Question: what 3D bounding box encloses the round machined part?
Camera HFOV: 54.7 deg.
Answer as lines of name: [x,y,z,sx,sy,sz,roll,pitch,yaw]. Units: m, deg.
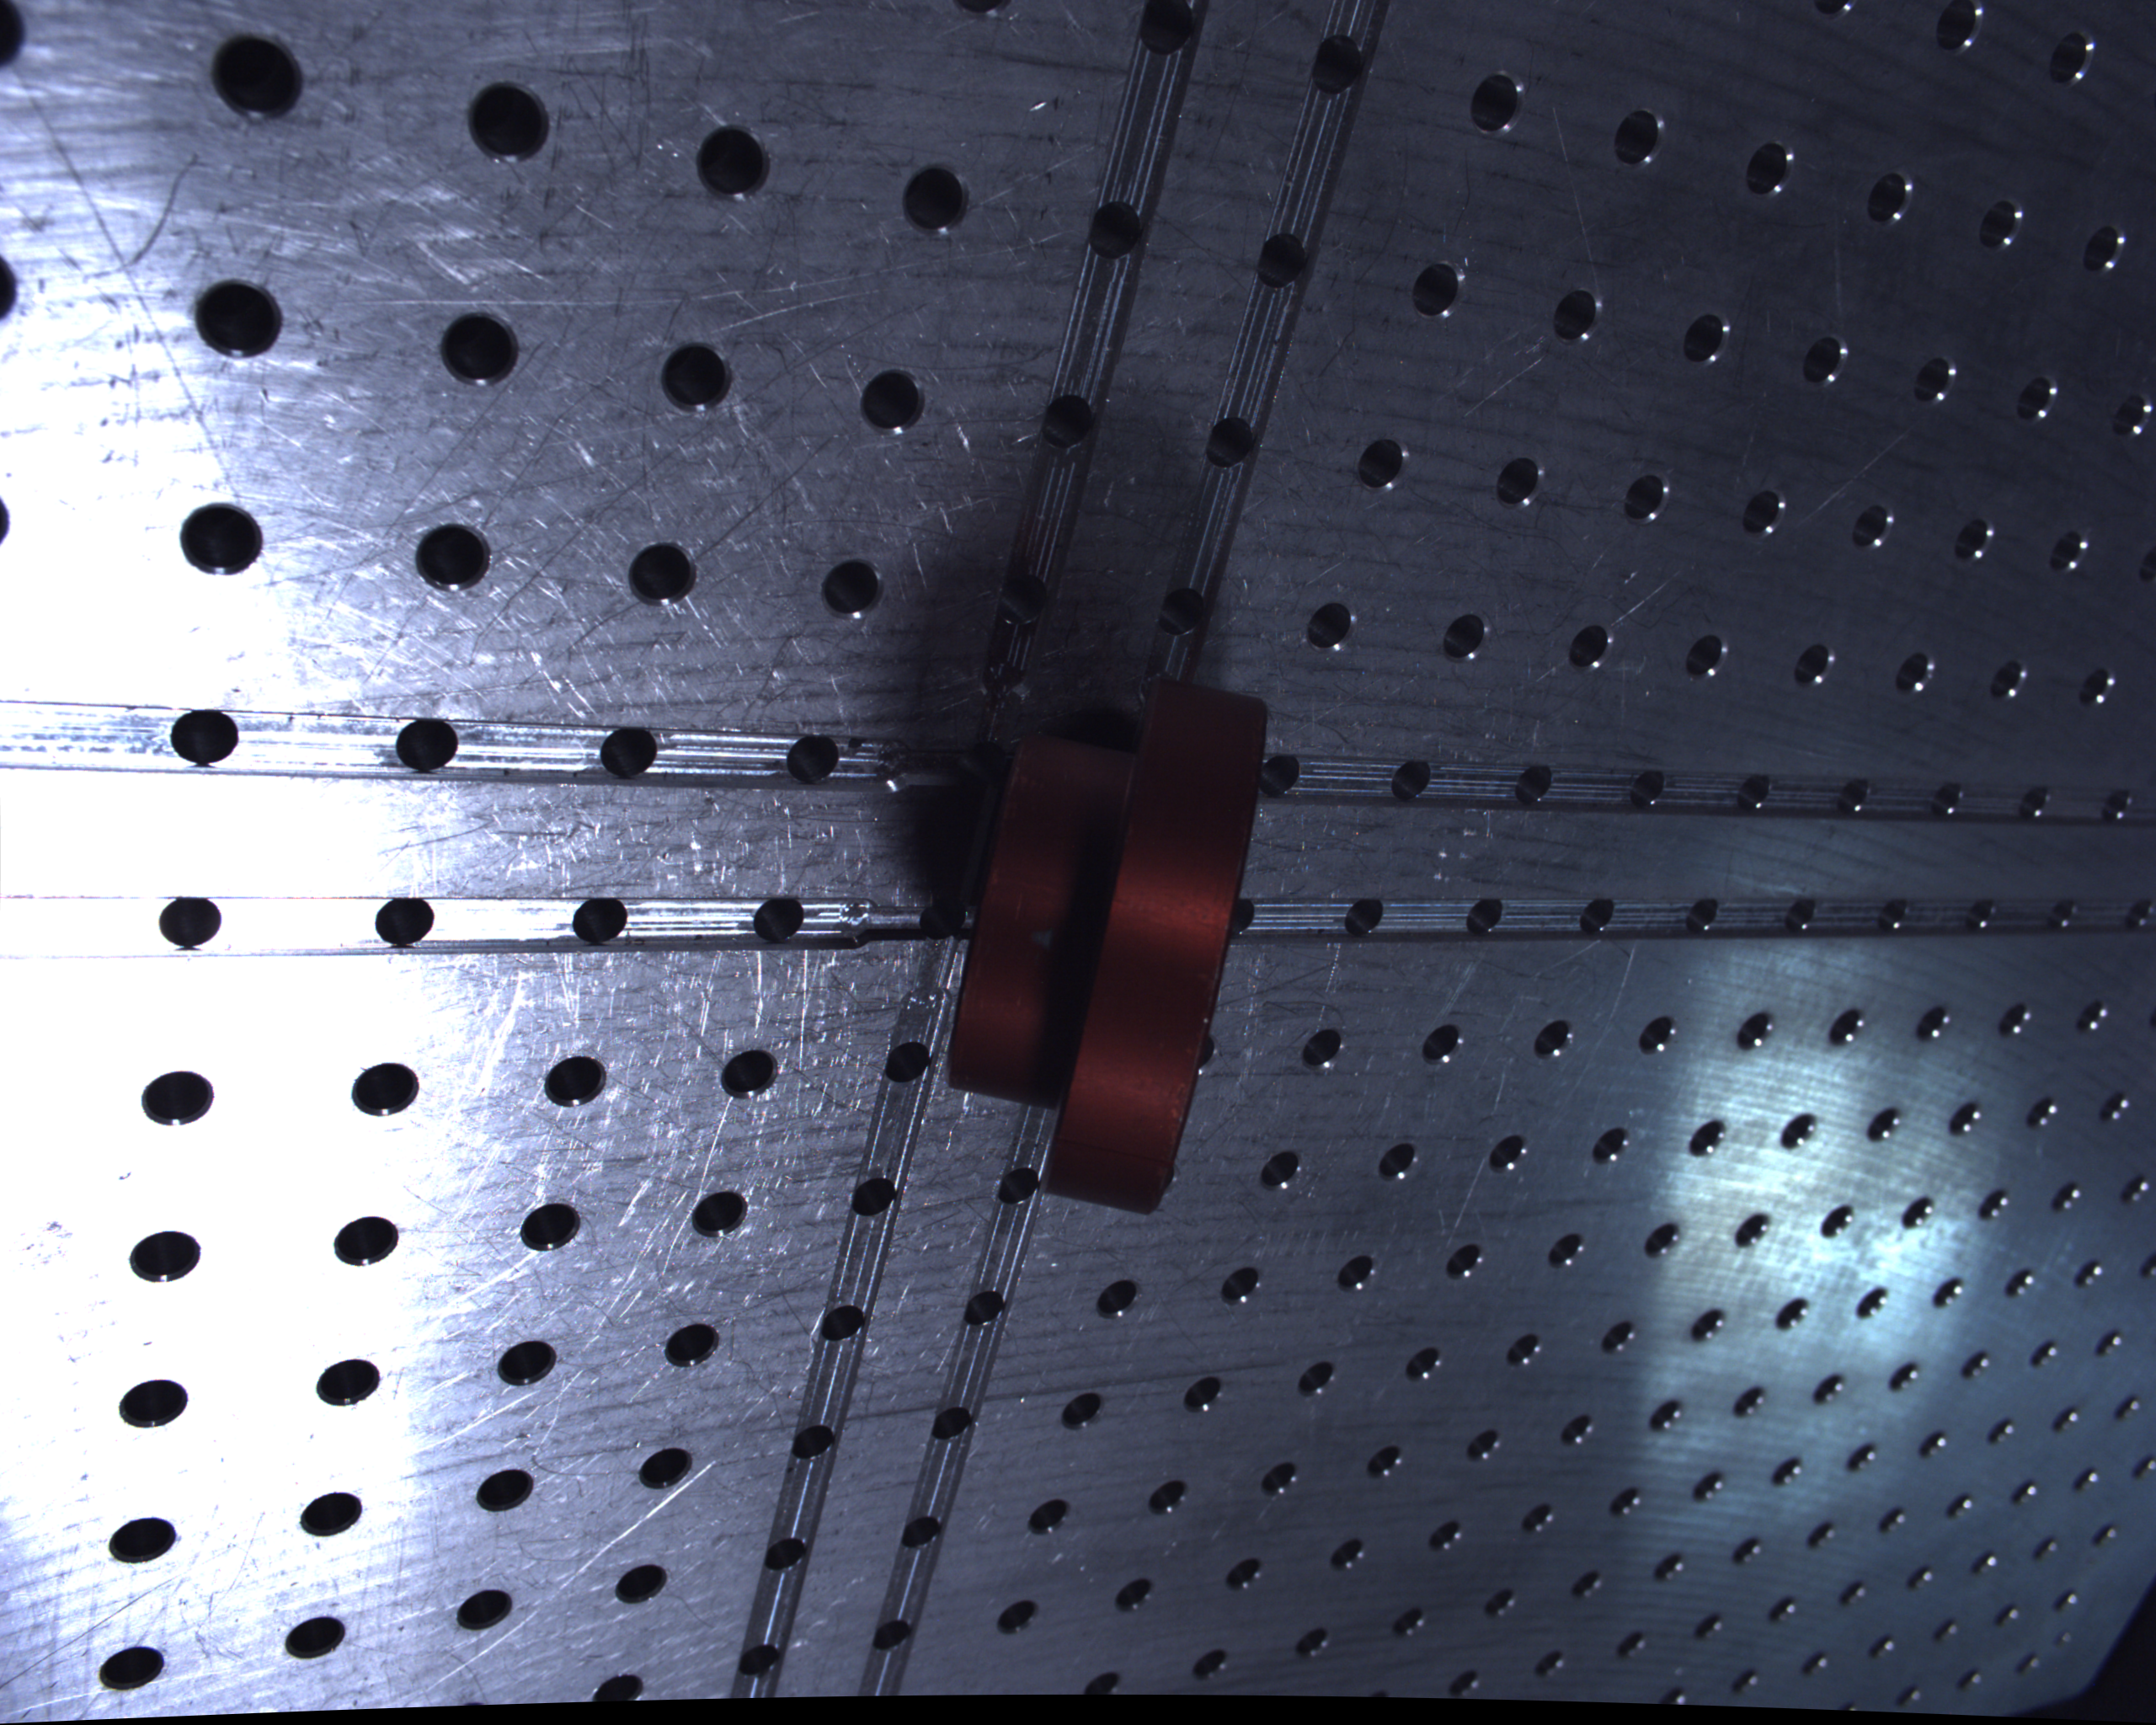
round machined part: [0.003,0.013,0.387,0.042,0.098,0.097,13,116,1]
